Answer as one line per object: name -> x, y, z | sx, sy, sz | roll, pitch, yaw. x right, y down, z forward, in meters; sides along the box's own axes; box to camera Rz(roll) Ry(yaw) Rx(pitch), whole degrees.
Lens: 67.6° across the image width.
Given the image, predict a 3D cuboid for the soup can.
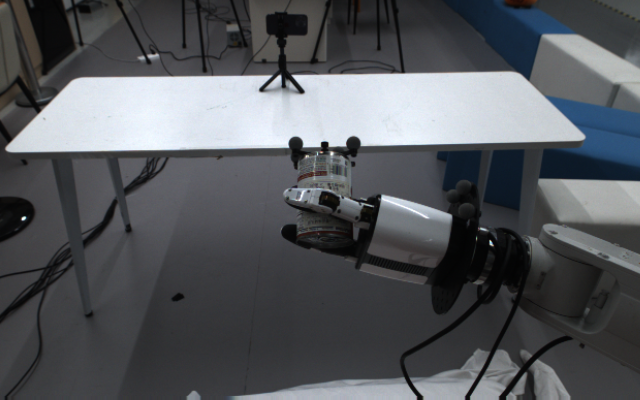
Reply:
soup can -> 0.007, 0.002, 0.573 | 0.067, 0.067, 0.101 | 1, 73, -2
